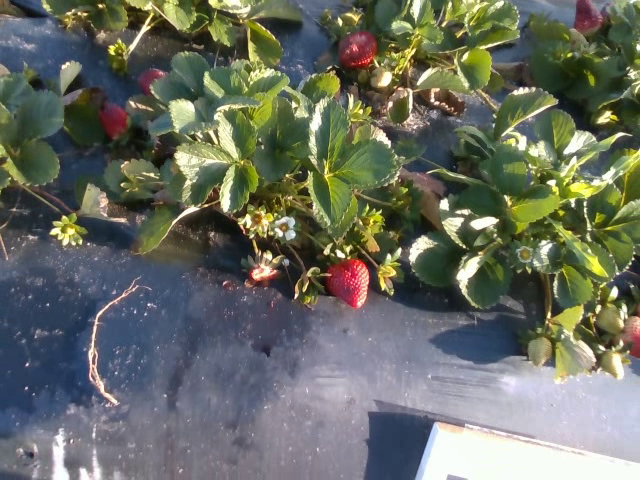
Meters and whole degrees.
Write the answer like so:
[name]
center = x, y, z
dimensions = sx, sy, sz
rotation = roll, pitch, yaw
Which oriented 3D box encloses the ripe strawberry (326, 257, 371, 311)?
[ripe strawberry]
center = 0.030, 0.046, 0.585
dimensions = 0.052, 0.041, 0.052
rotation = -16, 43, 1
